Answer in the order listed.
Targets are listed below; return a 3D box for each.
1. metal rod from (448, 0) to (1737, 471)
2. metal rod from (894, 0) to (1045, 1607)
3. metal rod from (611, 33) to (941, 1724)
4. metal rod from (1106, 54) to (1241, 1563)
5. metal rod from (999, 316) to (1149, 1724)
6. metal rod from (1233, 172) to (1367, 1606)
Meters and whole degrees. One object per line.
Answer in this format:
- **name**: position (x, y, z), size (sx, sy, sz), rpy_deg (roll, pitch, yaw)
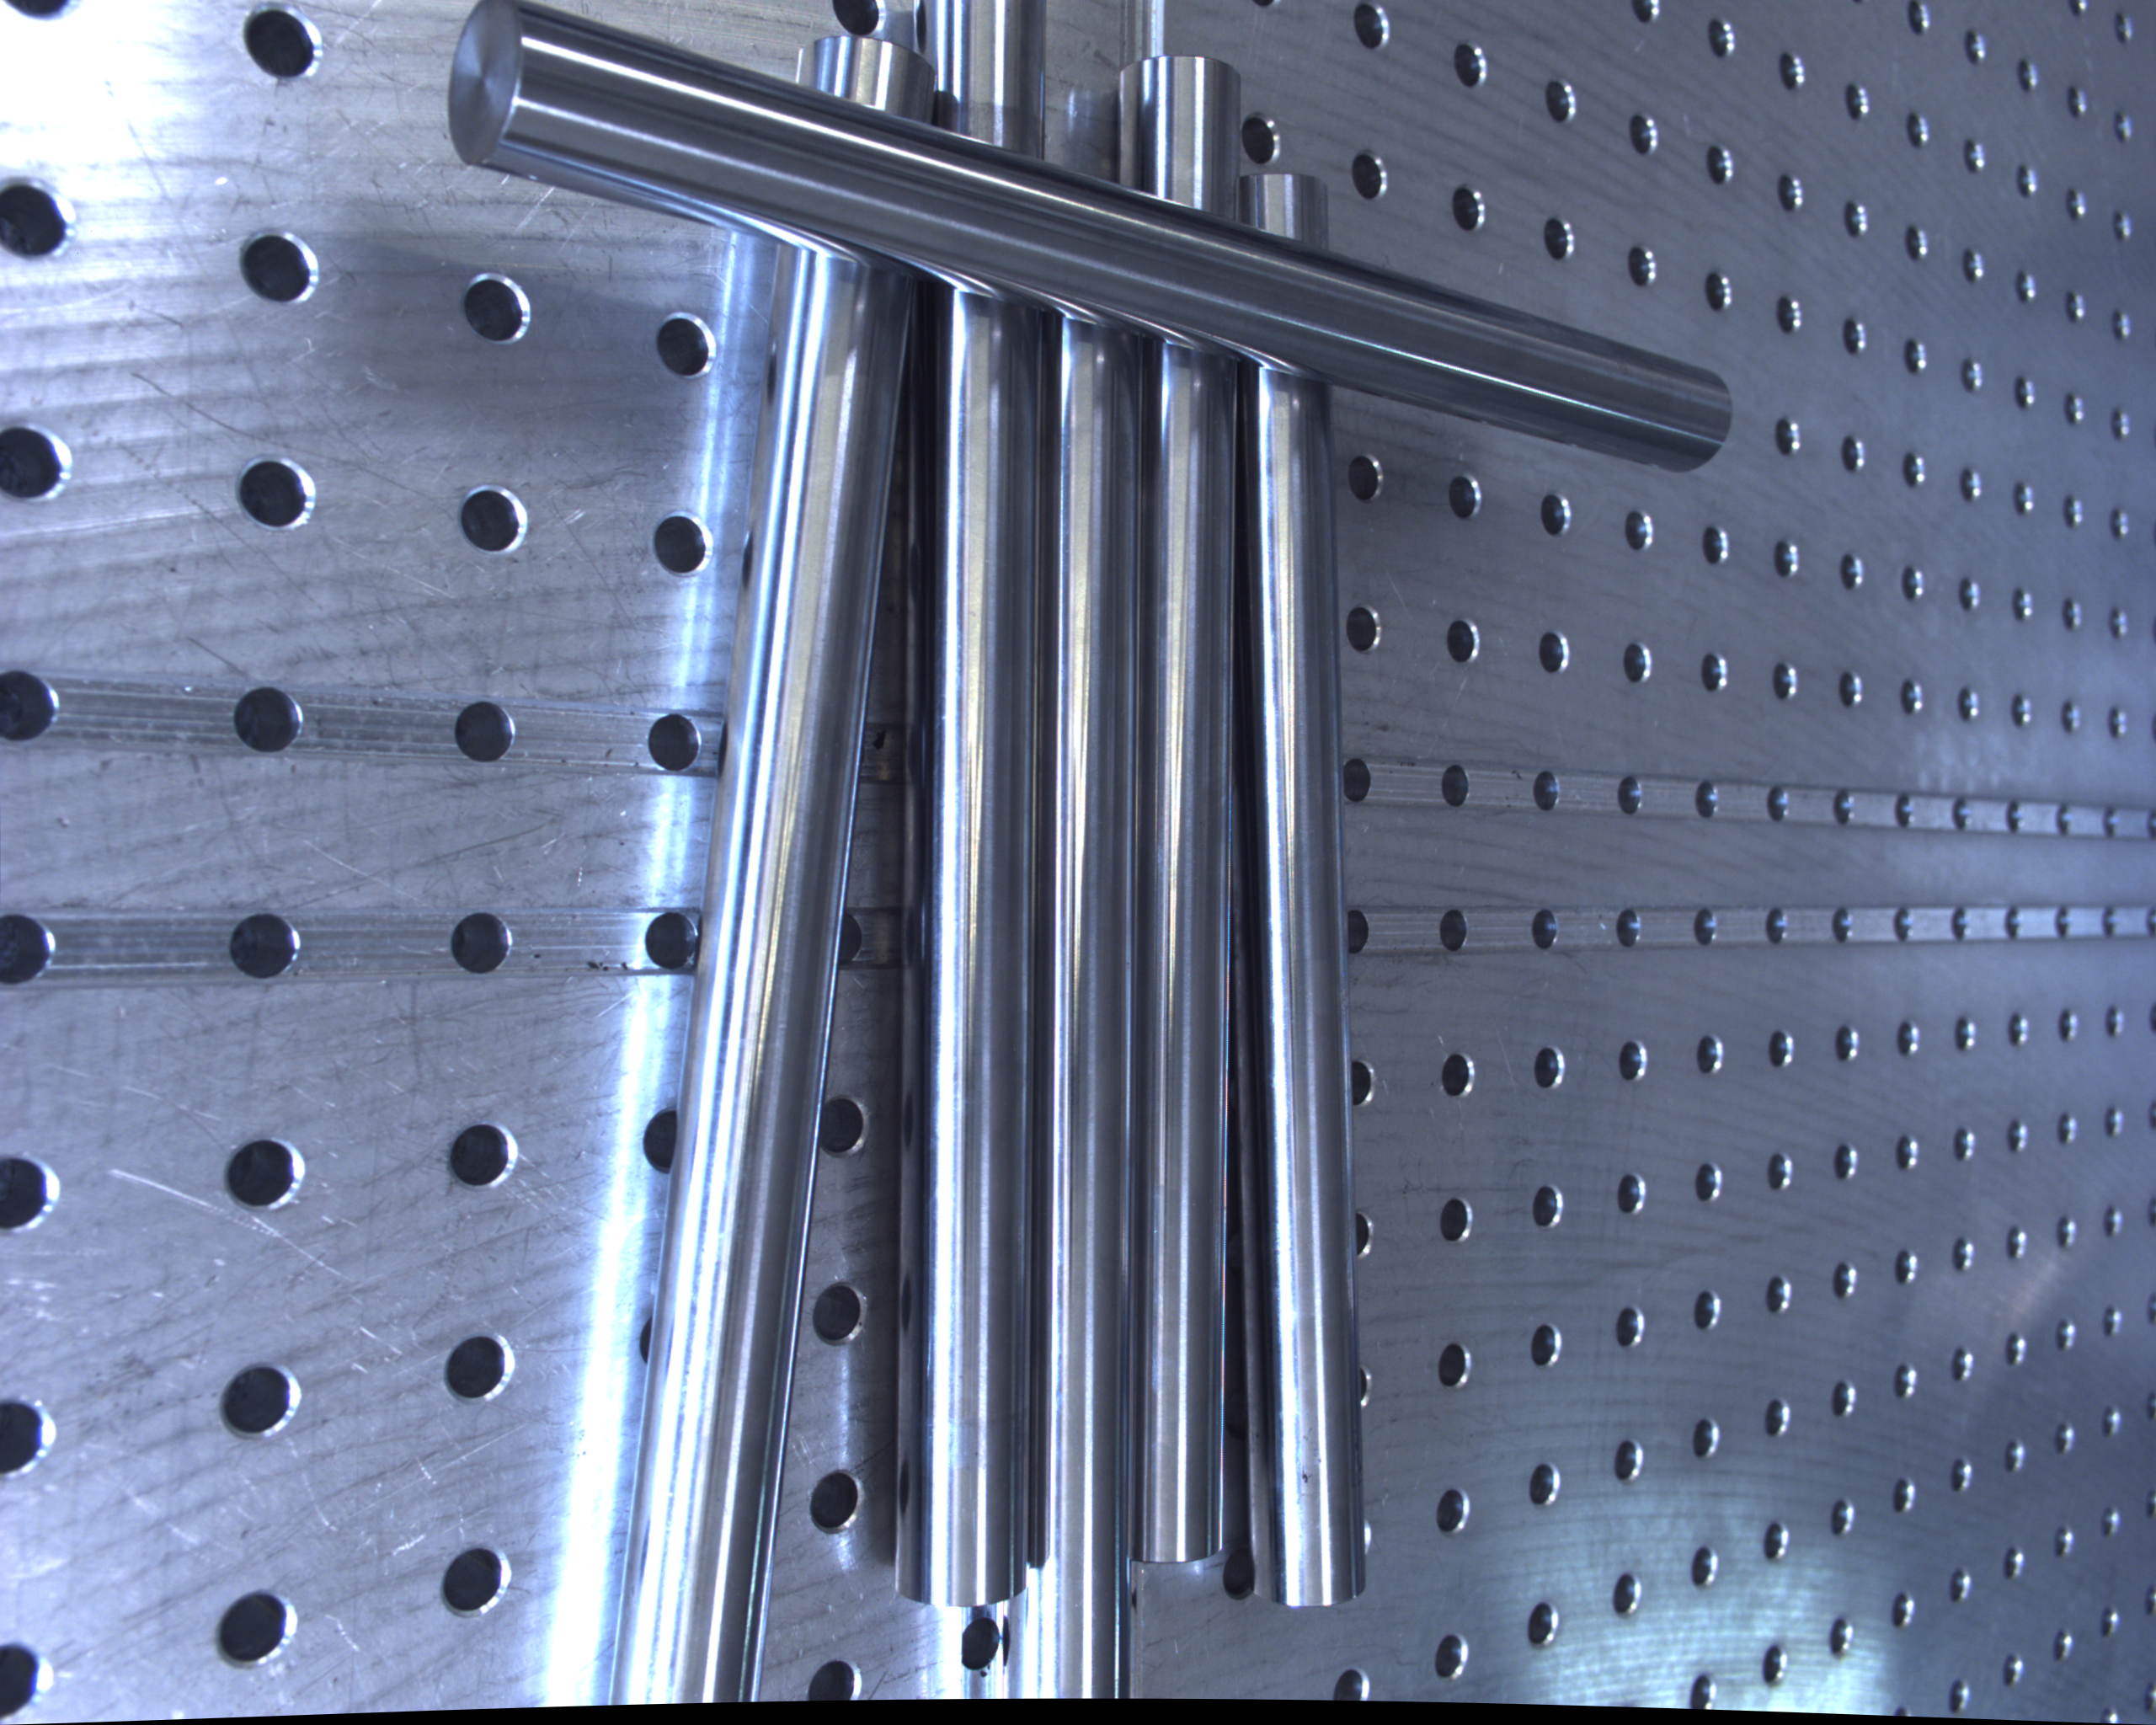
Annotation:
- **metal rod**: position (0.030, -0.110, 0.400), size (0.302, 0.025, 0.025), rpy_deg (2, 89, -40)
- **metal rod**: position (-0.020, -0.014, 0.391), size (0.025, 0.025, 0.298), rpy_deg (1, 90, -40)
- **metal rod**: position (-0.052, 0.005, 0.363), size (0.025, 0.025, 0.299), rpy_deg (10, 84, -40)
- **metal rod**: position (0.019, -0.011, 0.425), size (0.025, 0.025, 0.298), rpy_deg (1, 89, -40)
- **metal rod**: position (-0.001, 0.042, 0.407), size (0.025, 0.025, 0.298), rpy_deg (1, 90, -40)
- **metal rod**: position (0.045, 0.007, 0.446), size (0.025, 0.025, 0.298), rpy_deg (-3, 92, -40)
